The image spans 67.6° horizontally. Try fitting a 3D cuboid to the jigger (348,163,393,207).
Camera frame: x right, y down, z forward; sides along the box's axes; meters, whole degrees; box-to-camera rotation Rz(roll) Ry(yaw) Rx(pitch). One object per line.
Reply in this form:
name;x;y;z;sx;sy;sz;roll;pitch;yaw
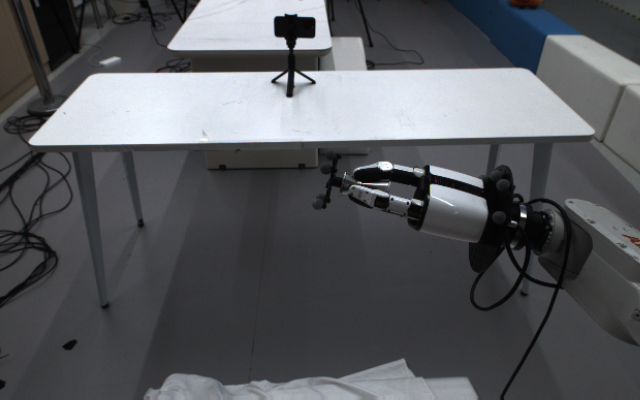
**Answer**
jigger;0.072;-0.019;0.711;0.071;0.043;0.043;14;36;4
